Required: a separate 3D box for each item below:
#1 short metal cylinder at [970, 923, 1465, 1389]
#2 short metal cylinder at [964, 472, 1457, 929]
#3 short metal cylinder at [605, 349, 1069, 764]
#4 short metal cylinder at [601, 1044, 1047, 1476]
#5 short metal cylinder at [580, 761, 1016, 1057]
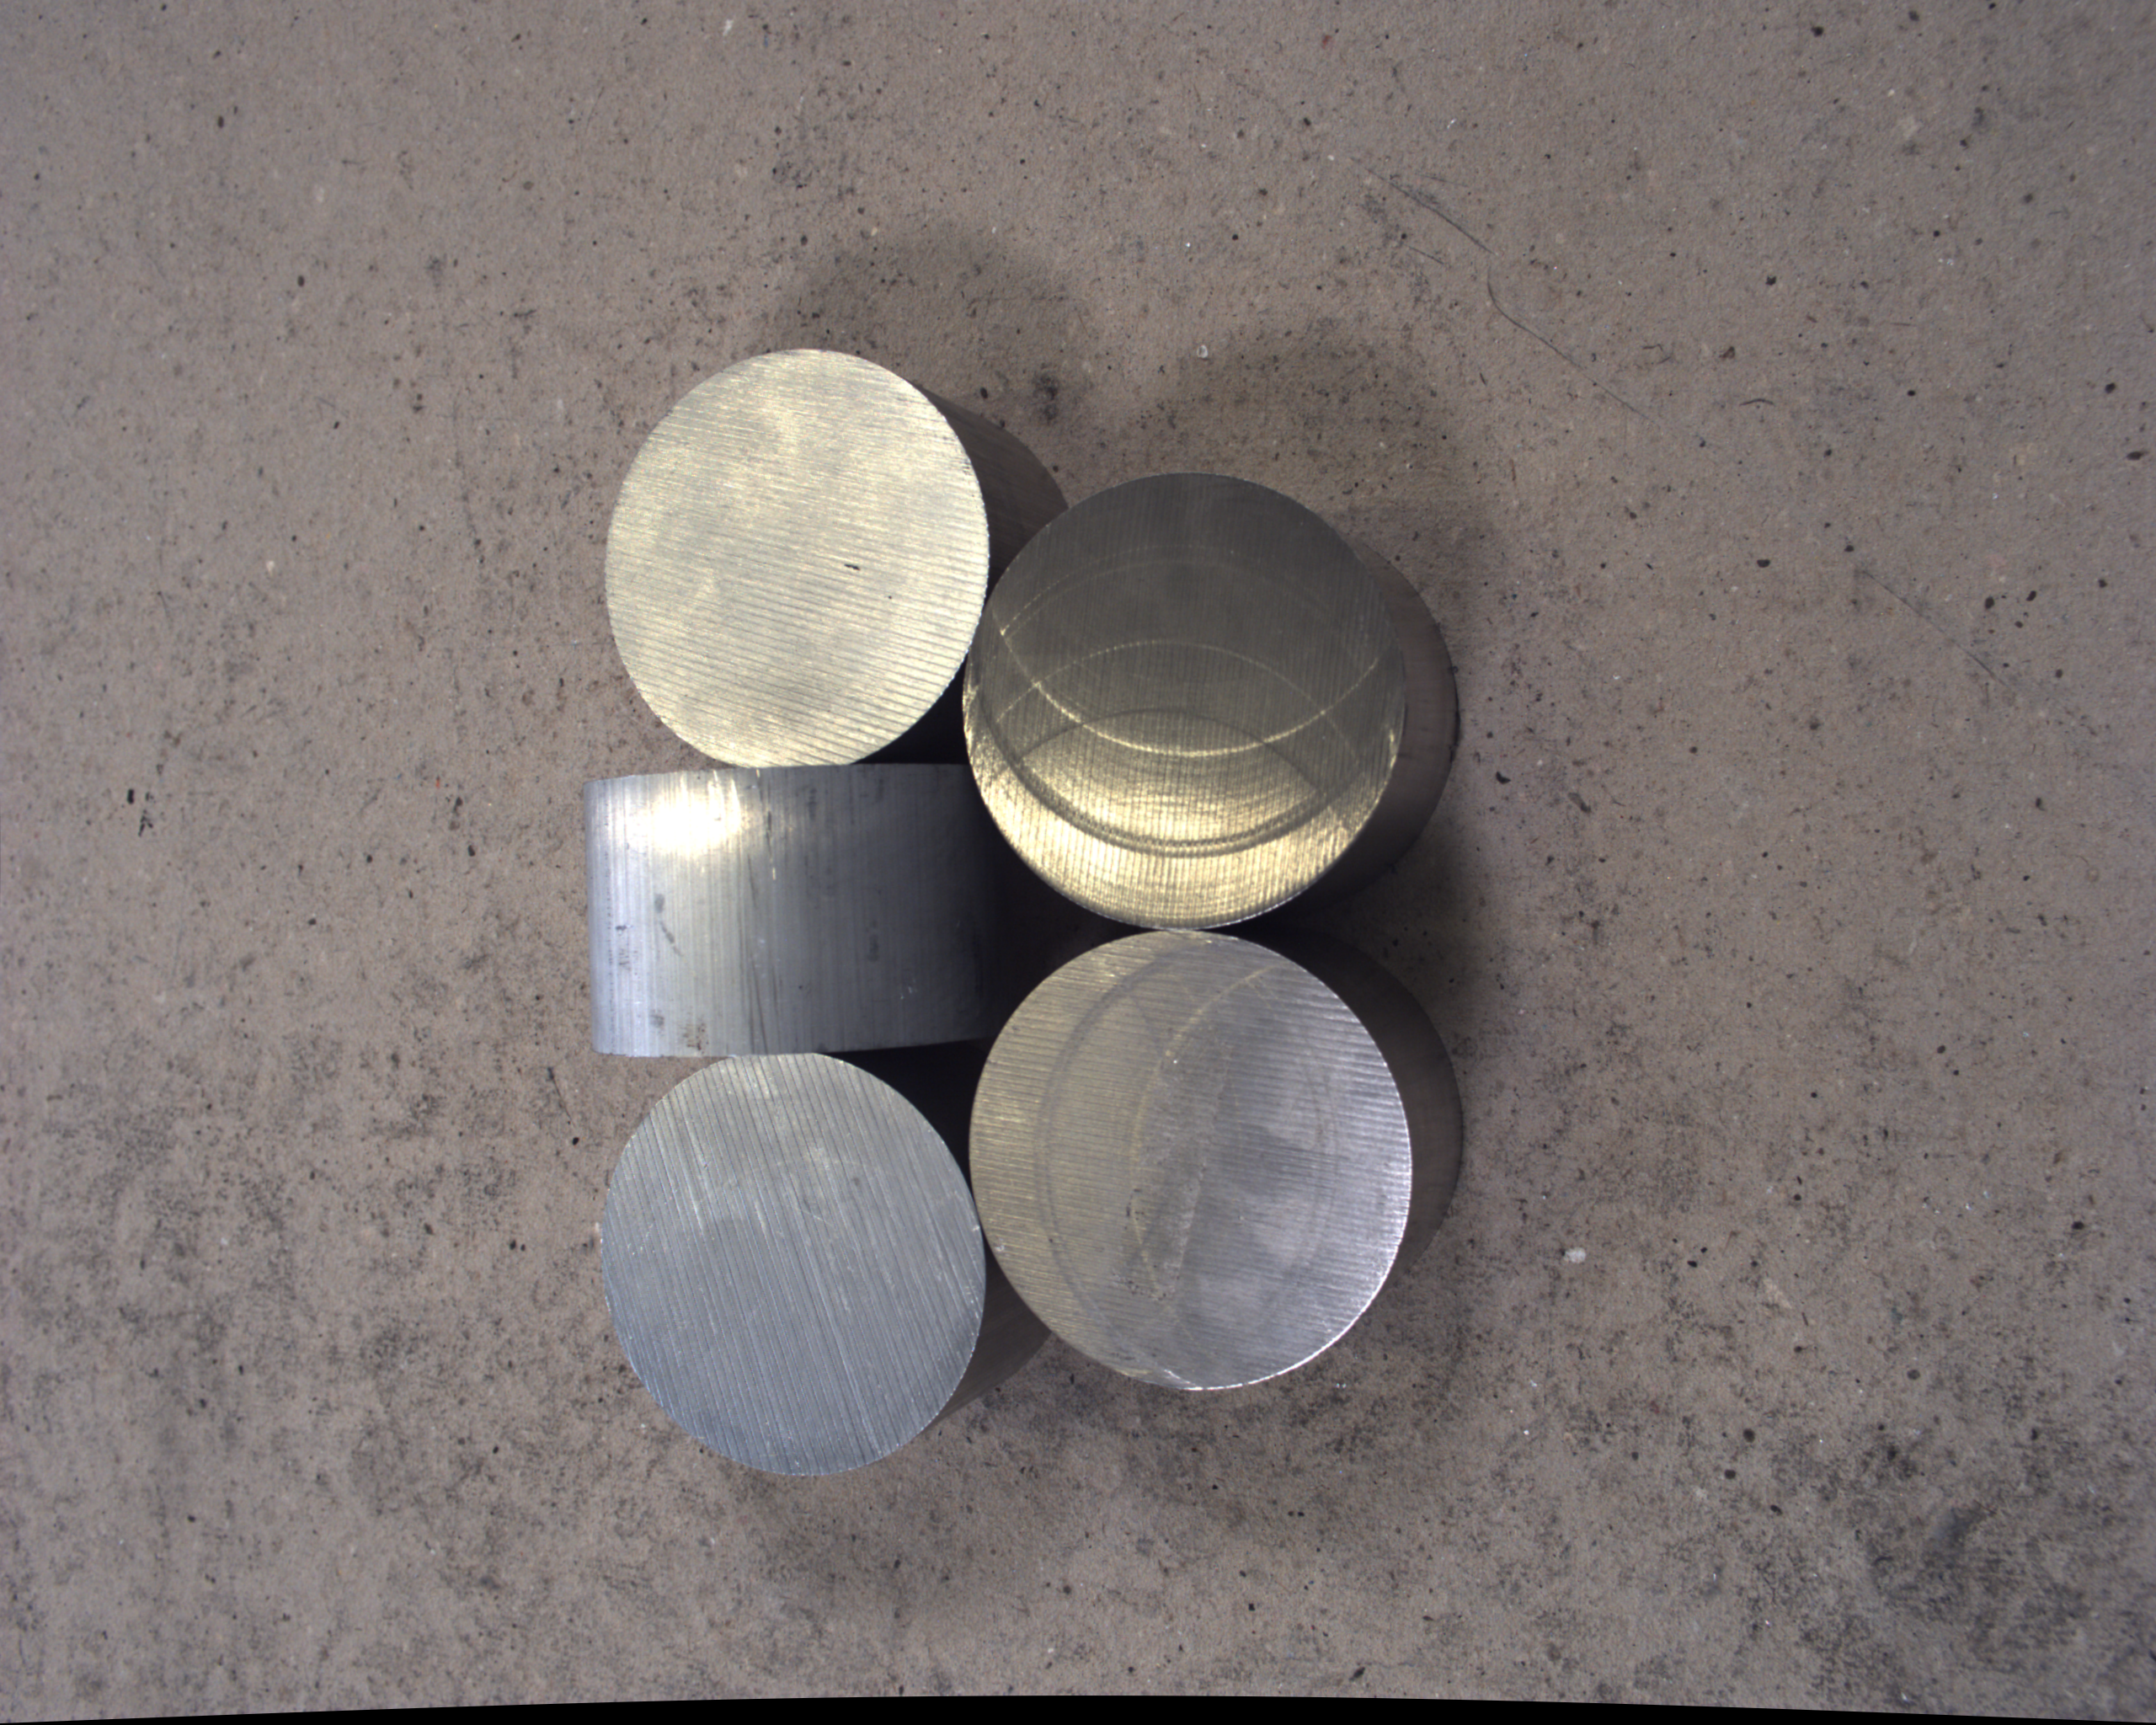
[{"bbox_3d":[0.027,0.052,0.387,0.080,0.050,0.080,0,91,21],"label":"short metal cylinder"},{"bbox_3d":[0.026,-0.028,0.387,0.080,0.050,0.080,0,91,20],"label":"short metal cylinder"},{"bbox_3d":[-0.045,-0.056,0.413,0.080,0.050,0.080,0,90,21],"label":"short metal cylinder"},{"bbox_3d":[-0.046,0.074,0.413,0.080,0.050,0.080,0,90,21],"label":"short metal cylinder"},{"bbox_3d":[-0.053,0.008,0.400,0.080,0.080,0.050,-3,89,20],"label":"short metal cylinder"}]
